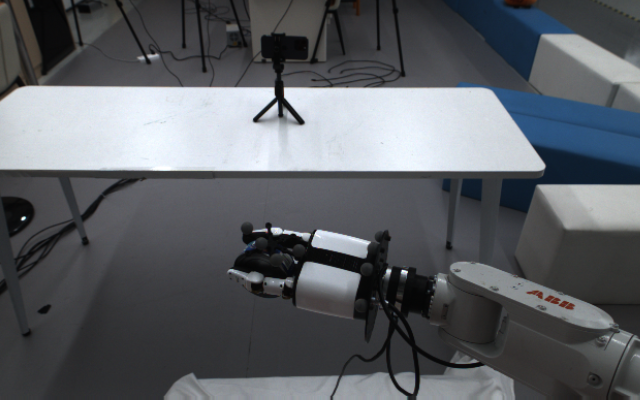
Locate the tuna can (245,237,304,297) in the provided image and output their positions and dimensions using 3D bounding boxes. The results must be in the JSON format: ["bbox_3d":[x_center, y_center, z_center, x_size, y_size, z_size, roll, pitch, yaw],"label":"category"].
[{"bbox_3d":[-0.077,0.099,0.705,0.085,0.085,0.034,12,33,14],"label":"tuna can"}]
